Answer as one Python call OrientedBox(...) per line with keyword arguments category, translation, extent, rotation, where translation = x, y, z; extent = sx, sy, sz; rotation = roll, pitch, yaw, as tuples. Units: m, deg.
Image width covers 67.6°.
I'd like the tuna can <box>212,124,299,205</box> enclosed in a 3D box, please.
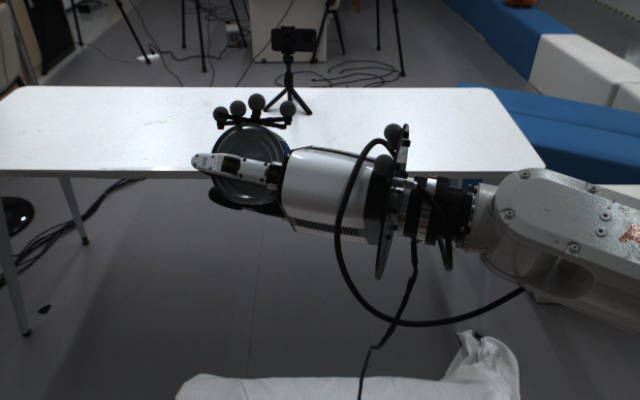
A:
OrientedBox(category="tuna can", translation=(-0.072, -0.038, 0.523), extent=(0.085, 0.085, 0.034), rotation=(15, 1, 18))
